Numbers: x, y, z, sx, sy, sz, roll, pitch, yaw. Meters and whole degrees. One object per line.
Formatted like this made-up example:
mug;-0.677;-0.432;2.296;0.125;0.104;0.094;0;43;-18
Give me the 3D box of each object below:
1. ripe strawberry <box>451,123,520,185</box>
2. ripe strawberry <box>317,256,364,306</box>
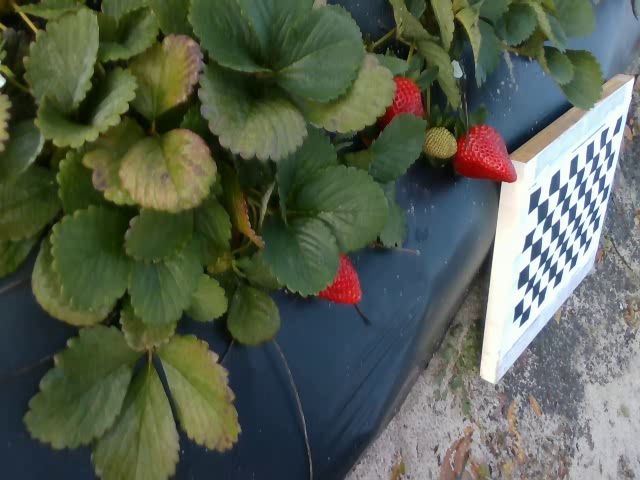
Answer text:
ripe strawberry;0.063;-0.028;0.214;0.022;0.030;0.025;-28;-39;-7
ripe strawberry;0.004;0.012;0.167;0.021;0.018;0.016;43;-22;-9
